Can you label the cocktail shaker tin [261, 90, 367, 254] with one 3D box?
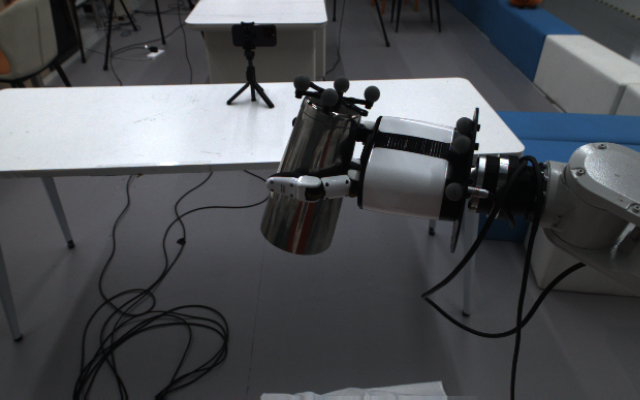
[{"bbox_3d":[-0.005,-0.033,0.562,0.093,0.170,0.093,12,29,-7],"label":"cocktail shaker tin"}]
